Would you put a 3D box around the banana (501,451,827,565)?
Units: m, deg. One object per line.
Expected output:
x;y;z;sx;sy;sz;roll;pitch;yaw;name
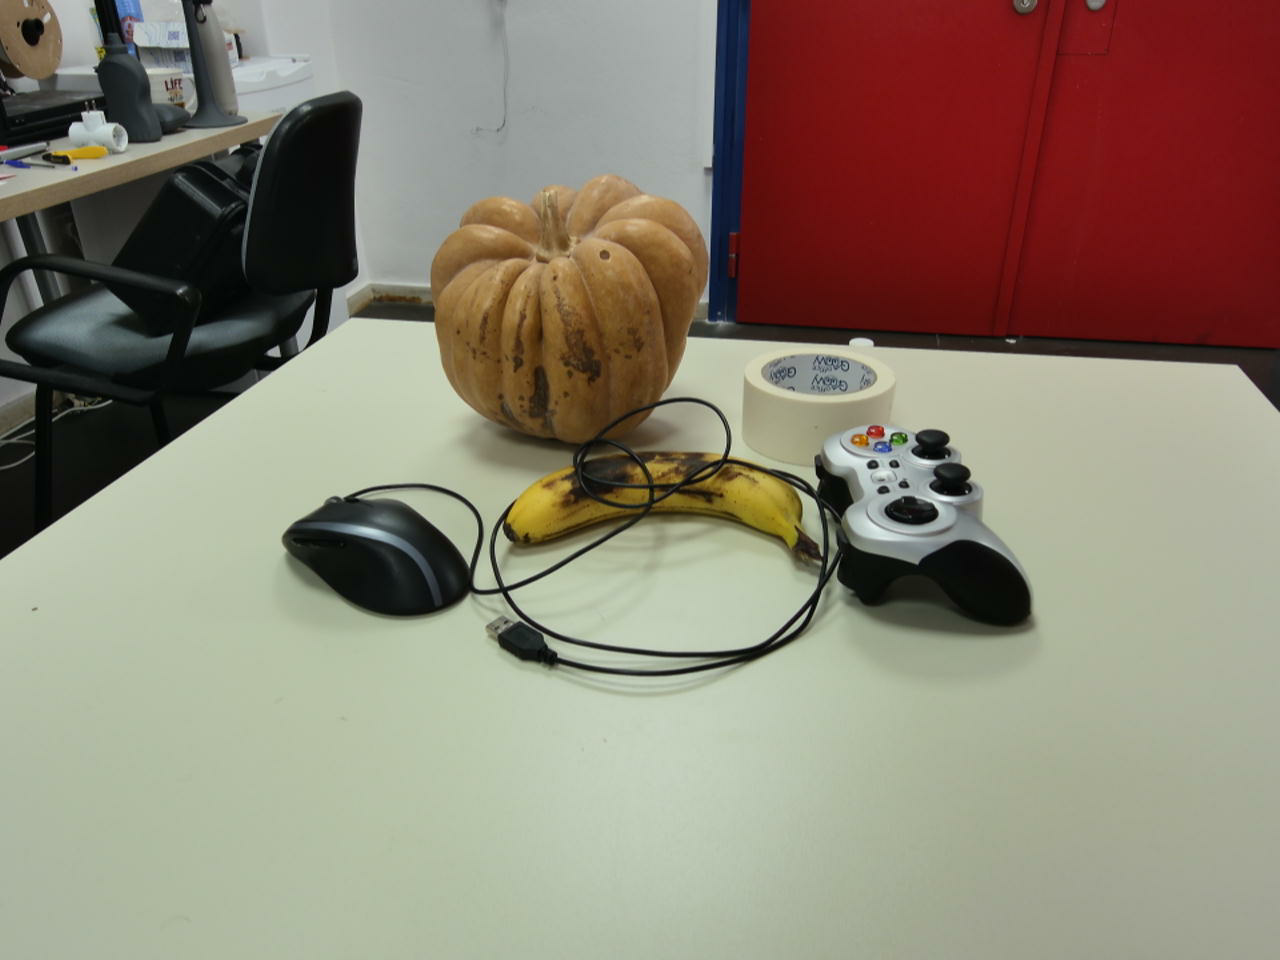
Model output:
0.017;0.013;0.605;0.187;0.039;0.094;5;26;9;banana
